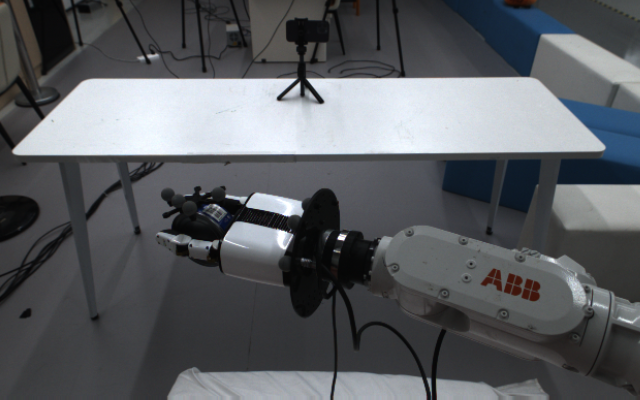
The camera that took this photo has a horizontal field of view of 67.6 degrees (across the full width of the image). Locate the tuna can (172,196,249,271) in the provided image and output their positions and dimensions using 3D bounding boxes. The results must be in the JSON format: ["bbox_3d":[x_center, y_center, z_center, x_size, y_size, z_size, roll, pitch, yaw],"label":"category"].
[{"bbox_3d":[-0.147,0.045,0.637,0.085,0.085,0.034,14,33,16],"label":"tuna can"}]
